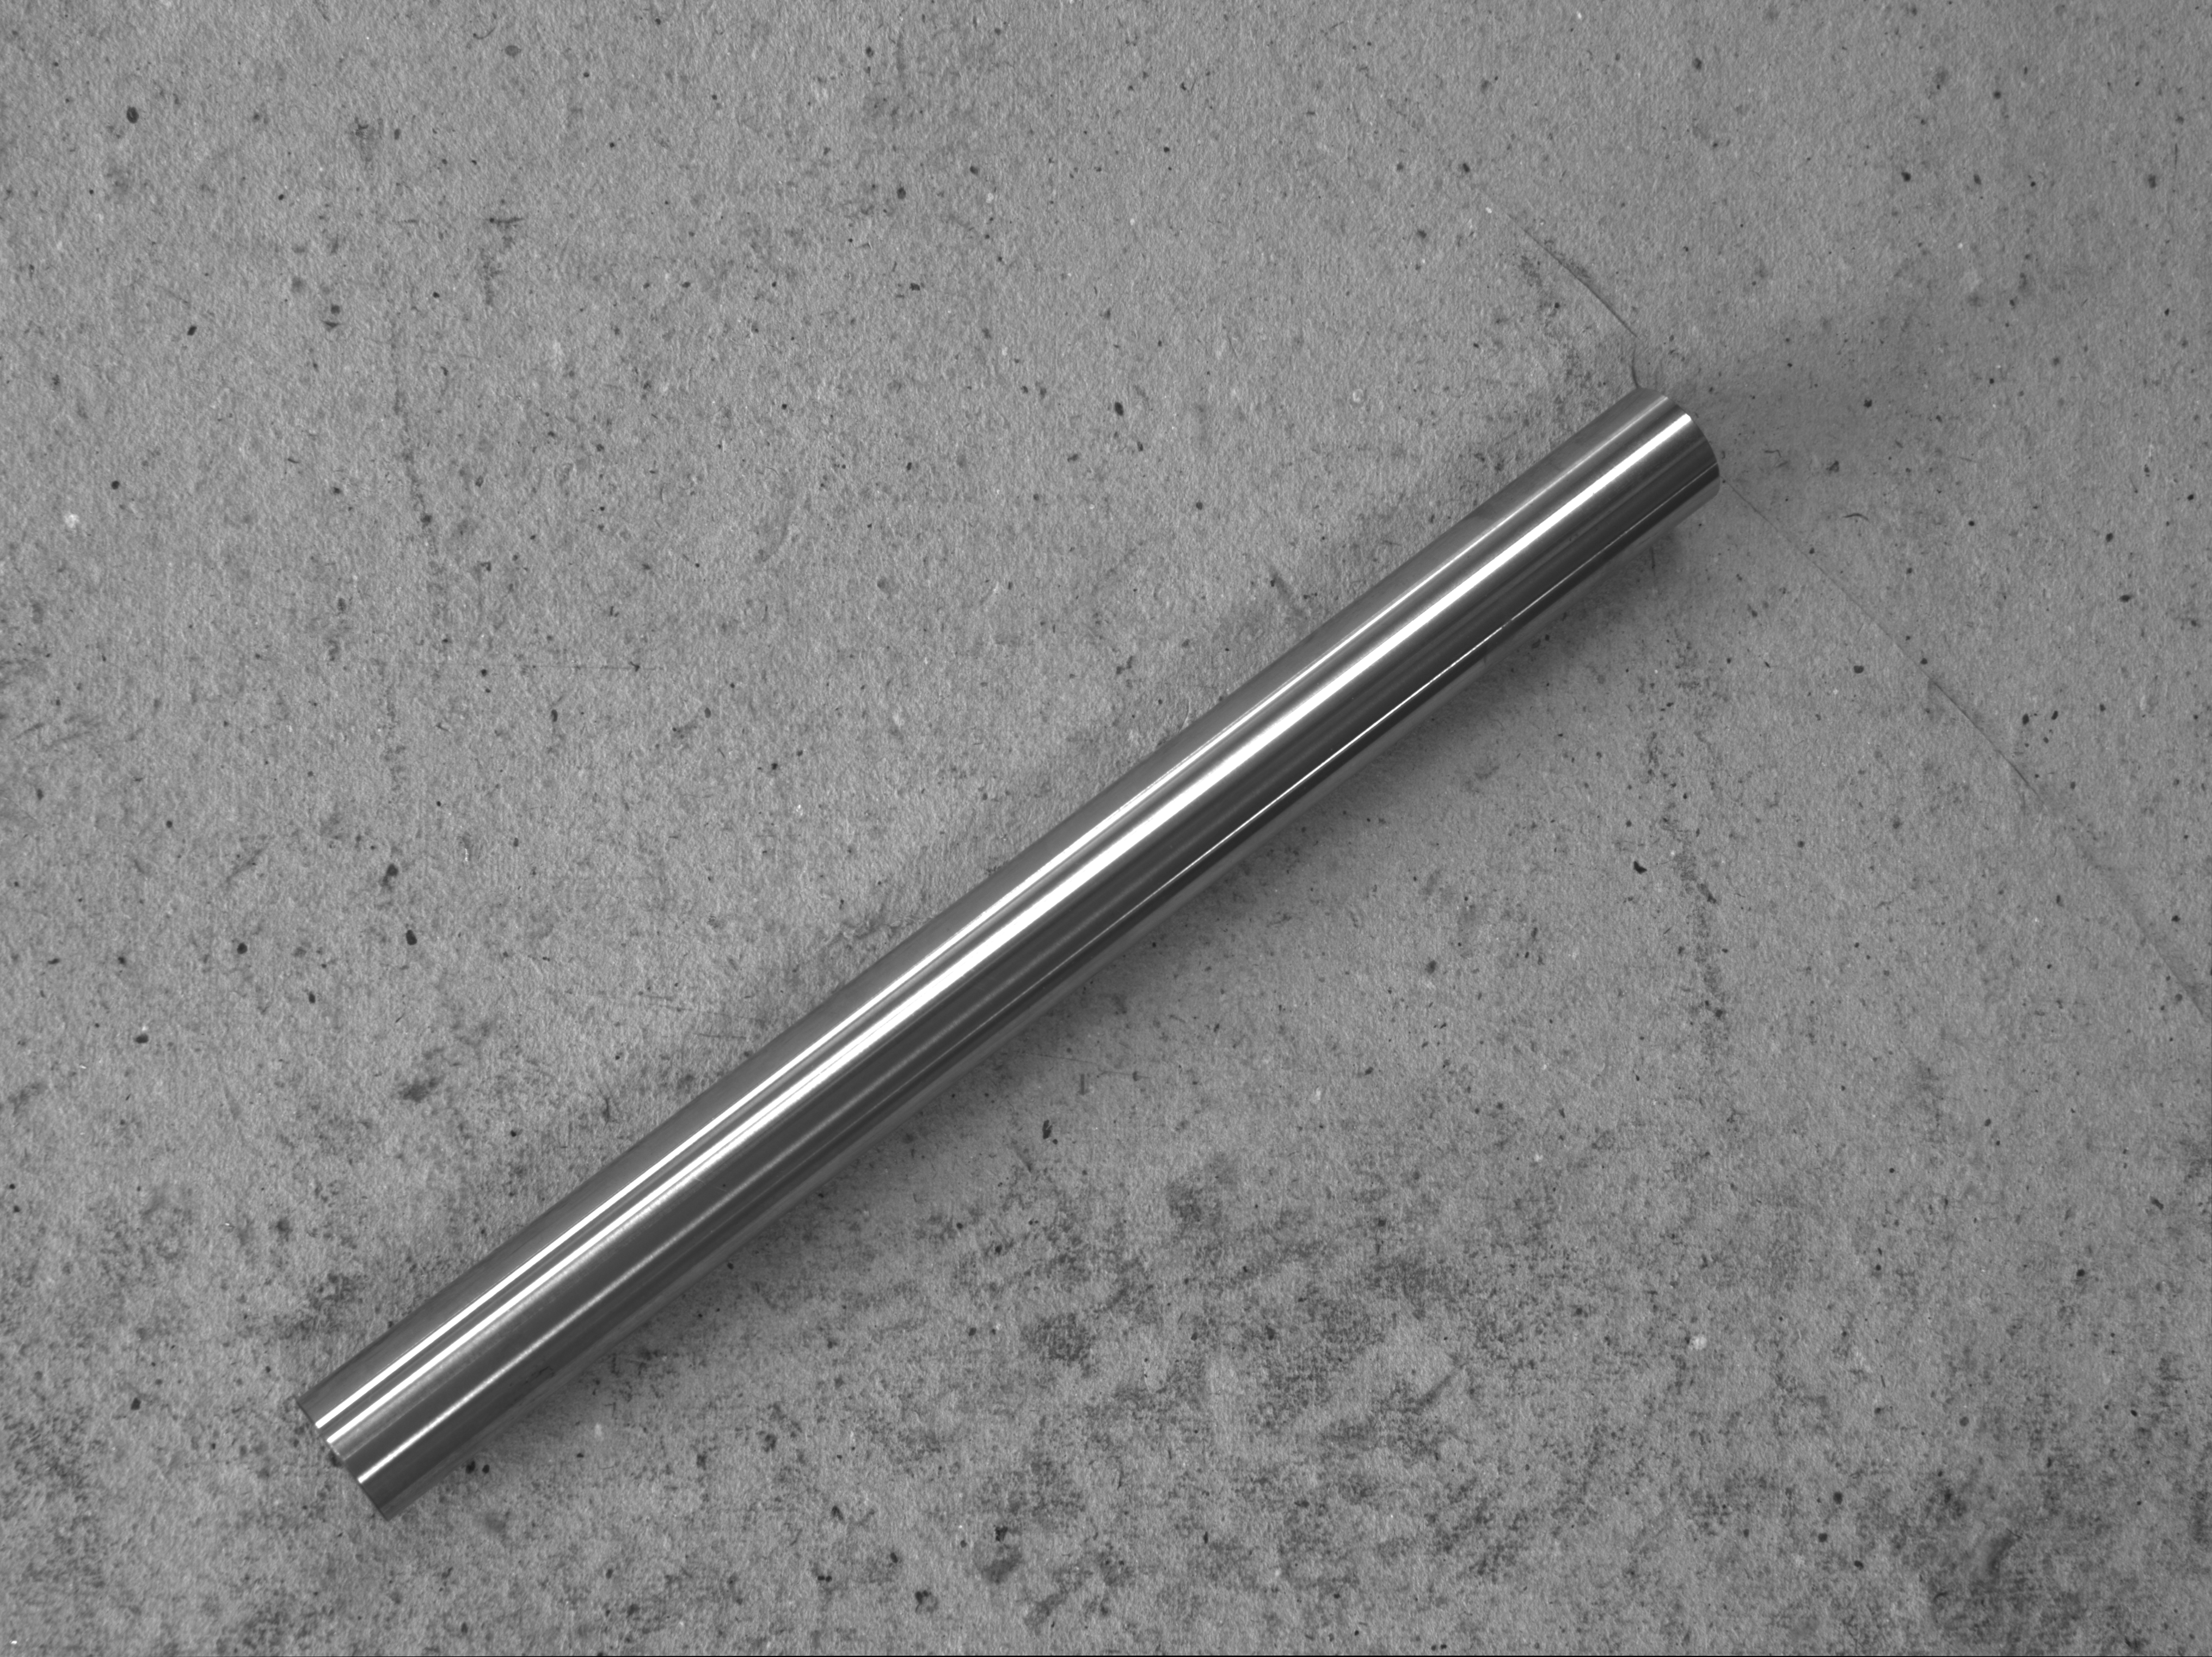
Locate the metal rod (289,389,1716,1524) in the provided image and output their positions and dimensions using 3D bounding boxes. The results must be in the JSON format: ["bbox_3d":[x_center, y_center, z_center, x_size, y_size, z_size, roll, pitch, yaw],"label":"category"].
[{"bbox_3d":[-0.011,0.016,0.640,0.300,0.025,0.025,-37,102,-16],"label":"metal rod"}]
